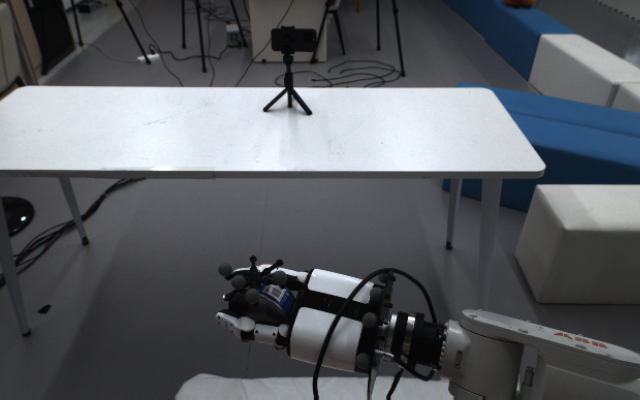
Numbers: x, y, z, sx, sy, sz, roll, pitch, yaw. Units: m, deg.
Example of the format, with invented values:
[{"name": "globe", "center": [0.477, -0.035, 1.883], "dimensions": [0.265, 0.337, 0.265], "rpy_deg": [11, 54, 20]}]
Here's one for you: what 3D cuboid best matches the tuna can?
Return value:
[{"name": "tuna can", "center": [-0.071, 0.139, 0.634], "dimensions": [0.085, 0.085, 0.034], "rpy_deg": [14, 40, 16]}]
